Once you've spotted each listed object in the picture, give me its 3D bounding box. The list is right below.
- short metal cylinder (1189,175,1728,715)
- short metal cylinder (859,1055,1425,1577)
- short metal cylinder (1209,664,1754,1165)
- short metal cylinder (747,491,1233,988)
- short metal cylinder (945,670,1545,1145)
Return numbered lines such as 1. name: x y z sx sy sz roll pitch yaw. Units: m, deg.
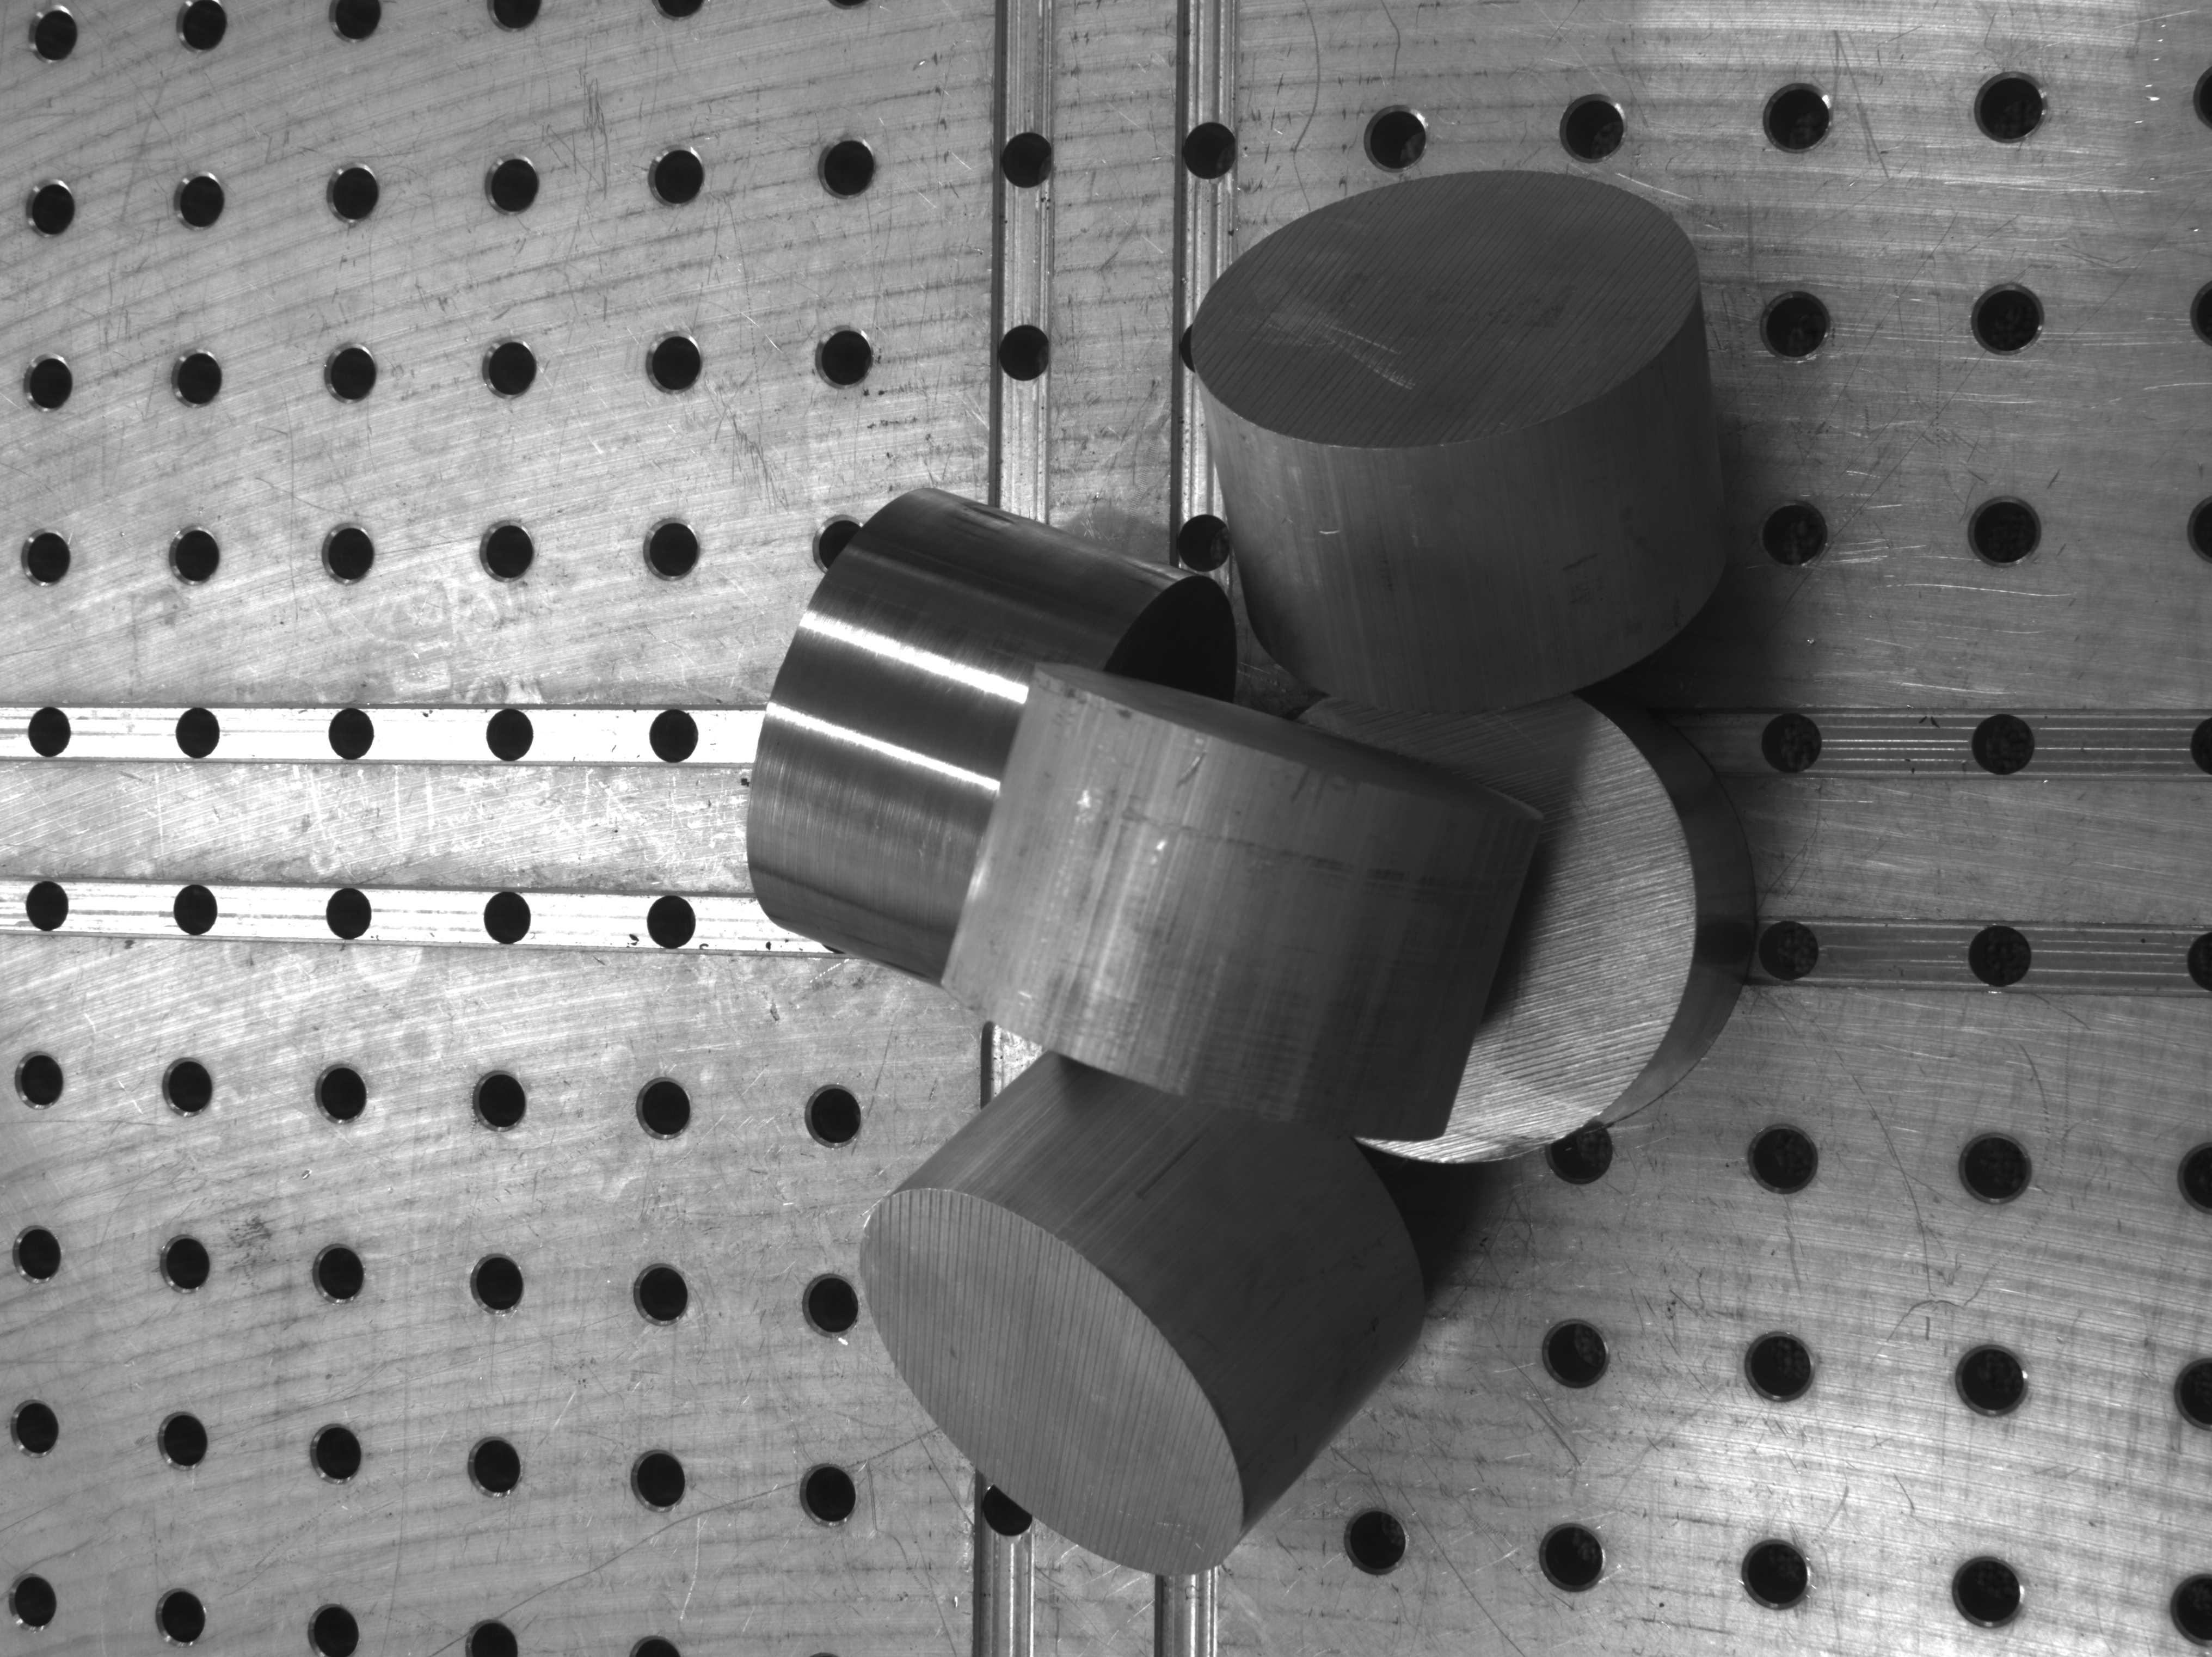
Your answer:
1. short metal cylinder: 0.057 -0.062 0.591 0.080 0.080 0.050 2 130 20
2. short metal cylinder: 0.006 0.077 0.611 0.080 0.050 0.080 29 142 26
3. short metal cylinder: 0.063 0.014 0.612 0.080 0.050 0.080 0 89 21
4. short metal cylinder: -0.018 -0.012 0.626 0.050 0.080 0.080 20 97 19
5. short metal cylinder: 0.021 0.011 0.558 0.080 0.080 0.050 18 96 19
